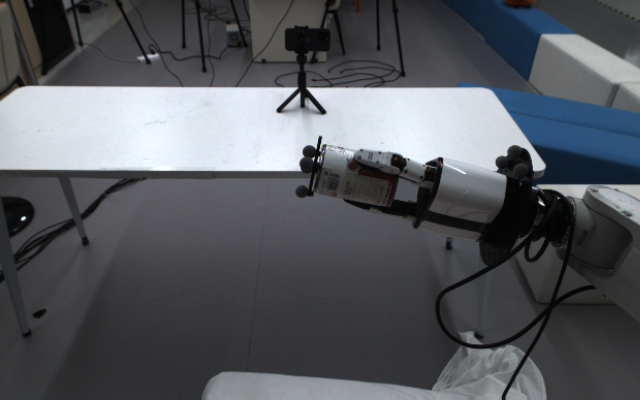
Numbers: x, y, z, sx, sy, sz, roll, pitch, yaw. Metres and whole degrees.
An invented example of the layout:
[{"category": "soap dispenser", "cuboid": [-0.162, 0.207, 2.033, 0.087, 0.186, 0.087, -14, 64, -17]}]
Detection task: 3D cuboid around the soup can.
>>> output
[{"category": "soup can", "cuboid": [0.049, -0.032, 0.638, 0.101, 0.067, 0.067, 11, 35, -2]}]
